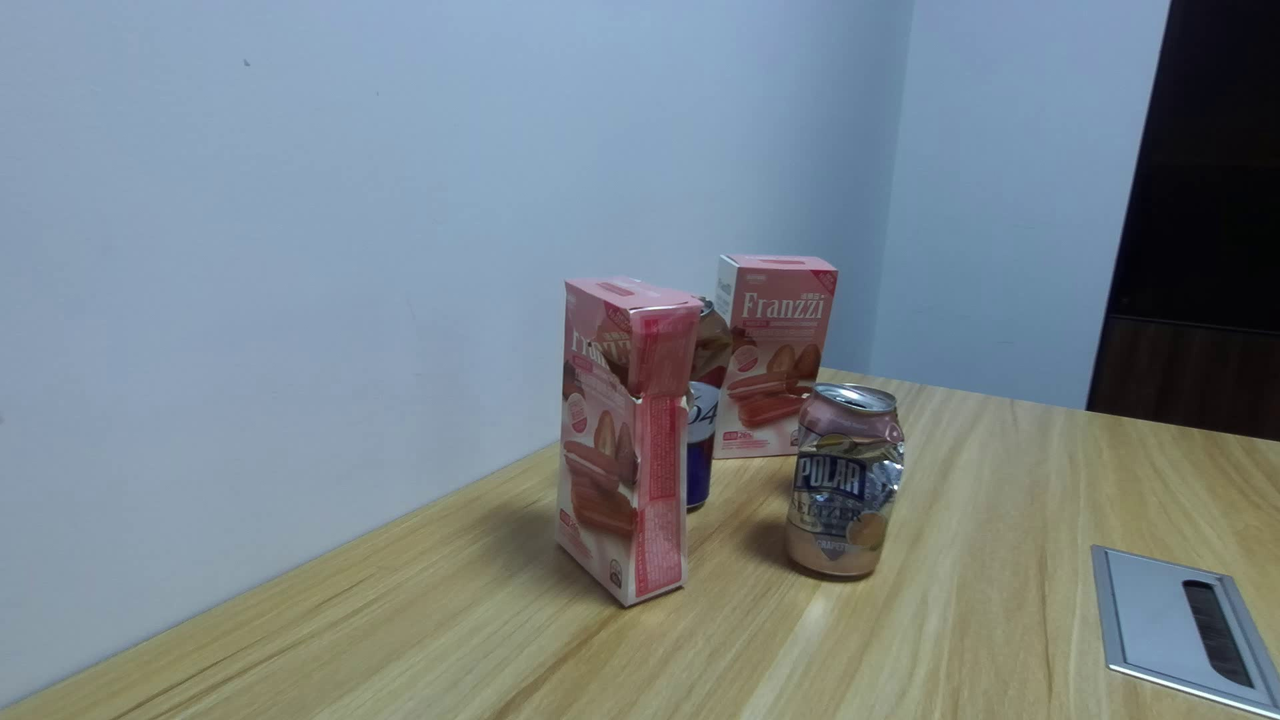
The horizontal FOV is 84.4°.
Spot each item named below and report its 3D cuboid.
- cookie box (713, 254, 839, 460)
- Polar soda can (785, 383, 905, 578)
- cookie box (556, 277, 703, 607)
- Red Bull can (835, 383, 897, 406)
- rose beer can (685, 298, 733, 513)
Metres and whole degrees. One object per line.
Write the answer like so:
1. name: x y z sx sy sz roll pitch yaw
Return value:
1. cookie box: 0.119 0.000 0.650 0.105 0.187 0.048 -1 22 -13
2. Polar soda can: 0.137 0.081 0.474 0.071 0.121 0.067 8 8 15
3. cookie box: -0.009 0.047 0.443 0.060 0.186 0.104 -8 19 -30
4. Red Bull can: 0.186 0.053 0.599 0.069 0.069 0.092 5 -2 10
5. rose beer can: 0.027 0.034 0.550 0.067 0.162 0.074 16 22 41
